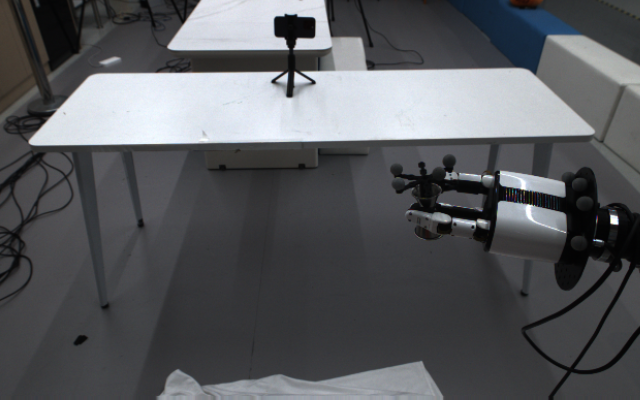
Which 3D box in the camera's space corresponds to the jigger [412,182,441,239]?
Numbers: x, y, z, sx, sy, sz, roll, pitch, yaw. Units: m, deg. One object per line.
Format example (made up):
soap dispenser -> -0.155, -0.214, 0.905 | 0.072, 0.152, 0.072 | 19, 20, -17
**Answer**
jigger -> 0.148, 0.014, 0.663 | 0.043, 0.071, 0.043 | -10, 32, 6
